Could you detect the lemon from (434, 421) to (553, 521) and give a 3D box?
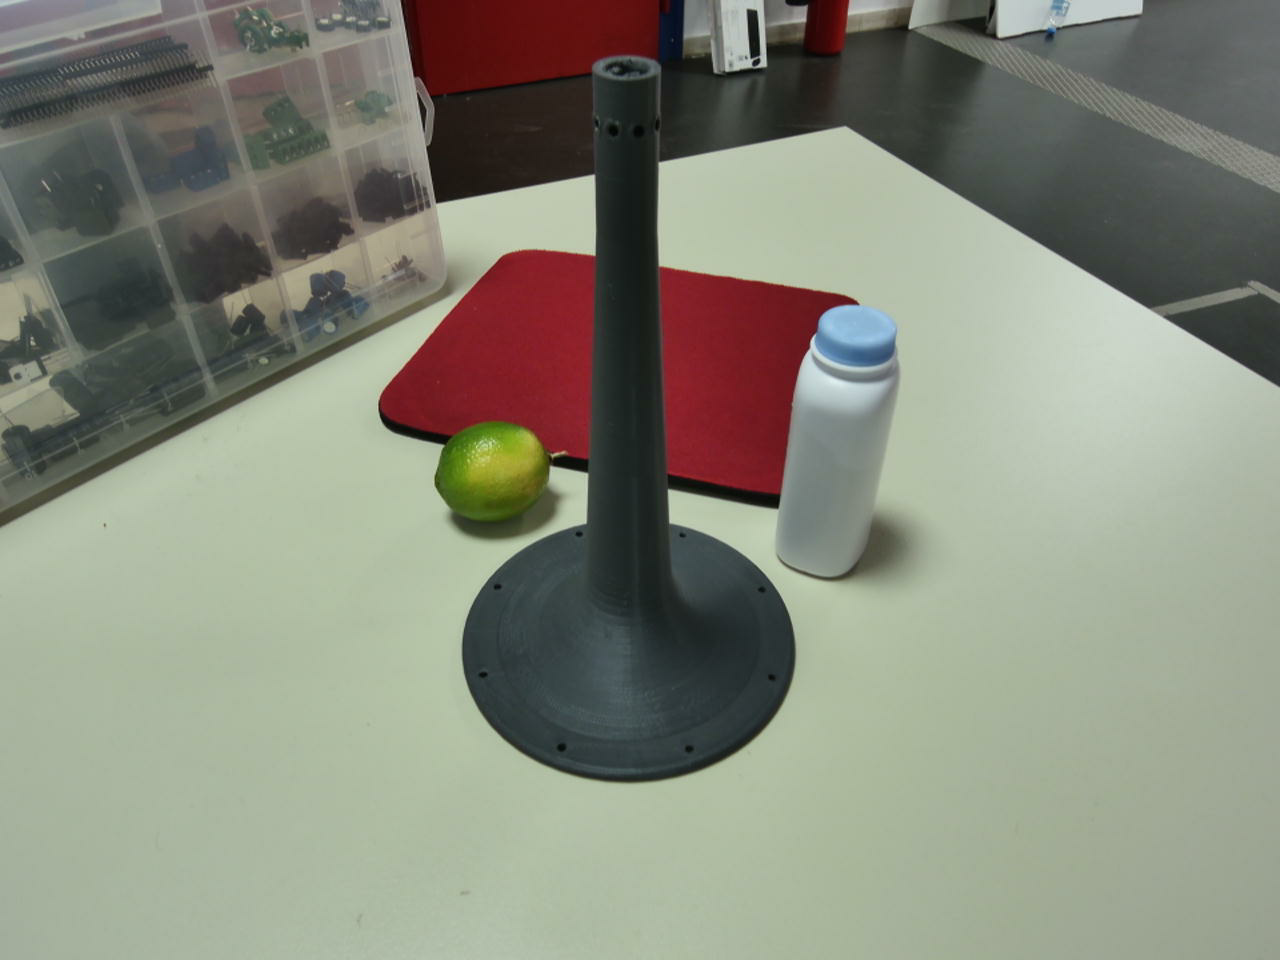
[{"bbox_3d":[-0.076,-0.005,0.516,0.055,0.050,0.054,17,41,19],"label":"lemon"}]
